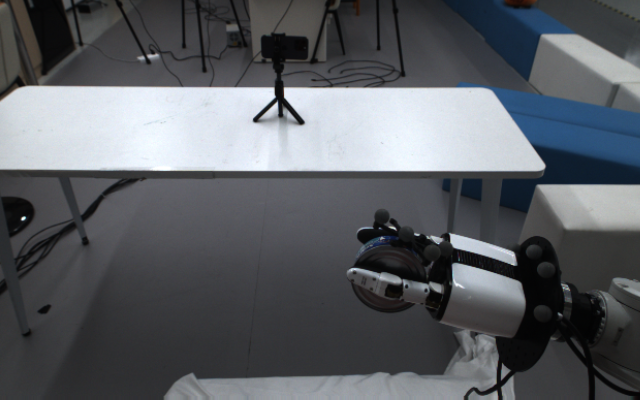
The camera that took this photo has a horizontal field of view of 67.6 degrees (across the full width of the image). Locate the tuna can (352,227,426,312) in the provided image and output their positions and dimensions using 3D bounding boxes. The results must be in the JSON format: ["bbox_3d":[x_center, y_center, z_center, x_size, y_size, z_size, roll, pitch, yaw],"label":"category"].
[{"bbox_3d":[0.084,0.084,0.564,0.085,0.085,0.034,7,17,7],"label":"tuna can"}]
